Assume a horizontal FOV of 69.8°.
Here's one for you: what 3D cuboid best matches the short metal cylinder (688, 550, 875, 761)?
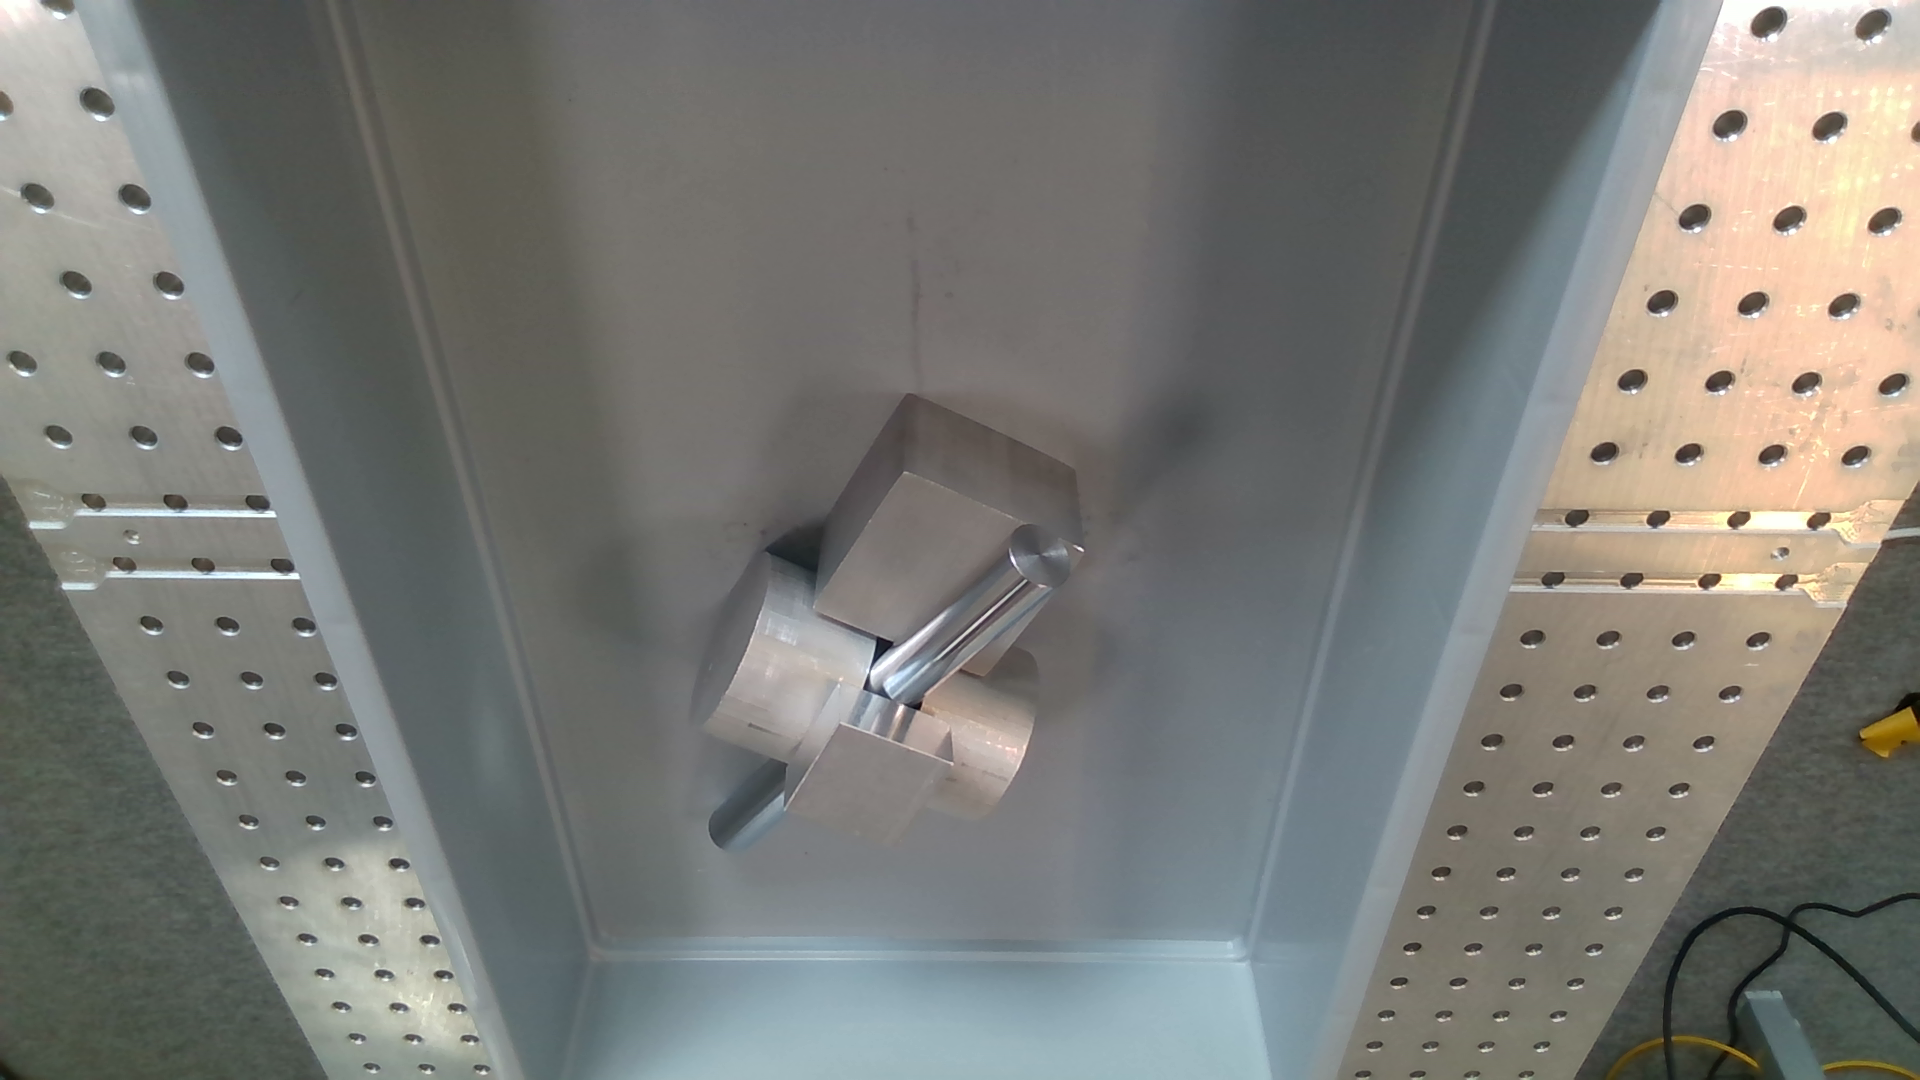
[{"bbox_3d":[-0.076,0.050,0.585,0.050,0.080,0.080,24,126,-19],"label":"short metal cylinder"}]

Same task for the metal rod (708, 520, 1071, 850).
[{"bbox_3d":[-0.044,0.075,0.590,0.025,0.025,0.301,24,141,-19],"label":"metal rod"}]

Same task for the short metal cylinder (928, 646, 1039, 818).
[{"bbox_3d":[-0.007,0.077,0.608,0.050,0.080,0.080,22,127,-17],"label":"short metal cylinder"}]

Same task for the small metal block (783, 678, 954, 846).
[{"bbox_3d":[-0.037,0.089,0.551,0.050,0.025,0.050,23,118,-18],"label":"small metal block"}]

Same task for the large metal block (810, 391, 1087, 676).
[{"bbox_3d":[-0.006,-0.001,0.559,0.080,0.050,0.080,23,126,-18],"label":"large metal block"}]
